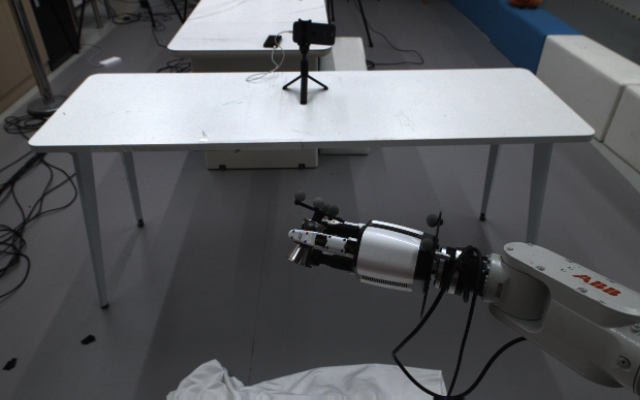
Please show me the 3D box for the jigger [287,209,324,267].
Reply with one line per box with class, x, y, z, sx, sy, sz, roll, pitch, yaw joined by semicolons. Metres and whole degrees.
jigger;-0.021;0.063;0.741;0.043;0.071;0.043;24;-2;1
